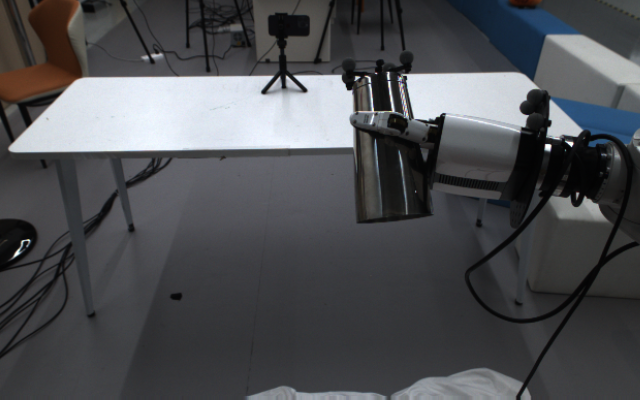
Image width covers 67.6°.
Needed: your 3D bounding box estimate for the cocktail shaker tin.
[{"bbox_3d":[0.081,-0.061,0.585,0.093,0.170,0.093,-6,-7,-1],"label":"cocktail shaker tin"}]
